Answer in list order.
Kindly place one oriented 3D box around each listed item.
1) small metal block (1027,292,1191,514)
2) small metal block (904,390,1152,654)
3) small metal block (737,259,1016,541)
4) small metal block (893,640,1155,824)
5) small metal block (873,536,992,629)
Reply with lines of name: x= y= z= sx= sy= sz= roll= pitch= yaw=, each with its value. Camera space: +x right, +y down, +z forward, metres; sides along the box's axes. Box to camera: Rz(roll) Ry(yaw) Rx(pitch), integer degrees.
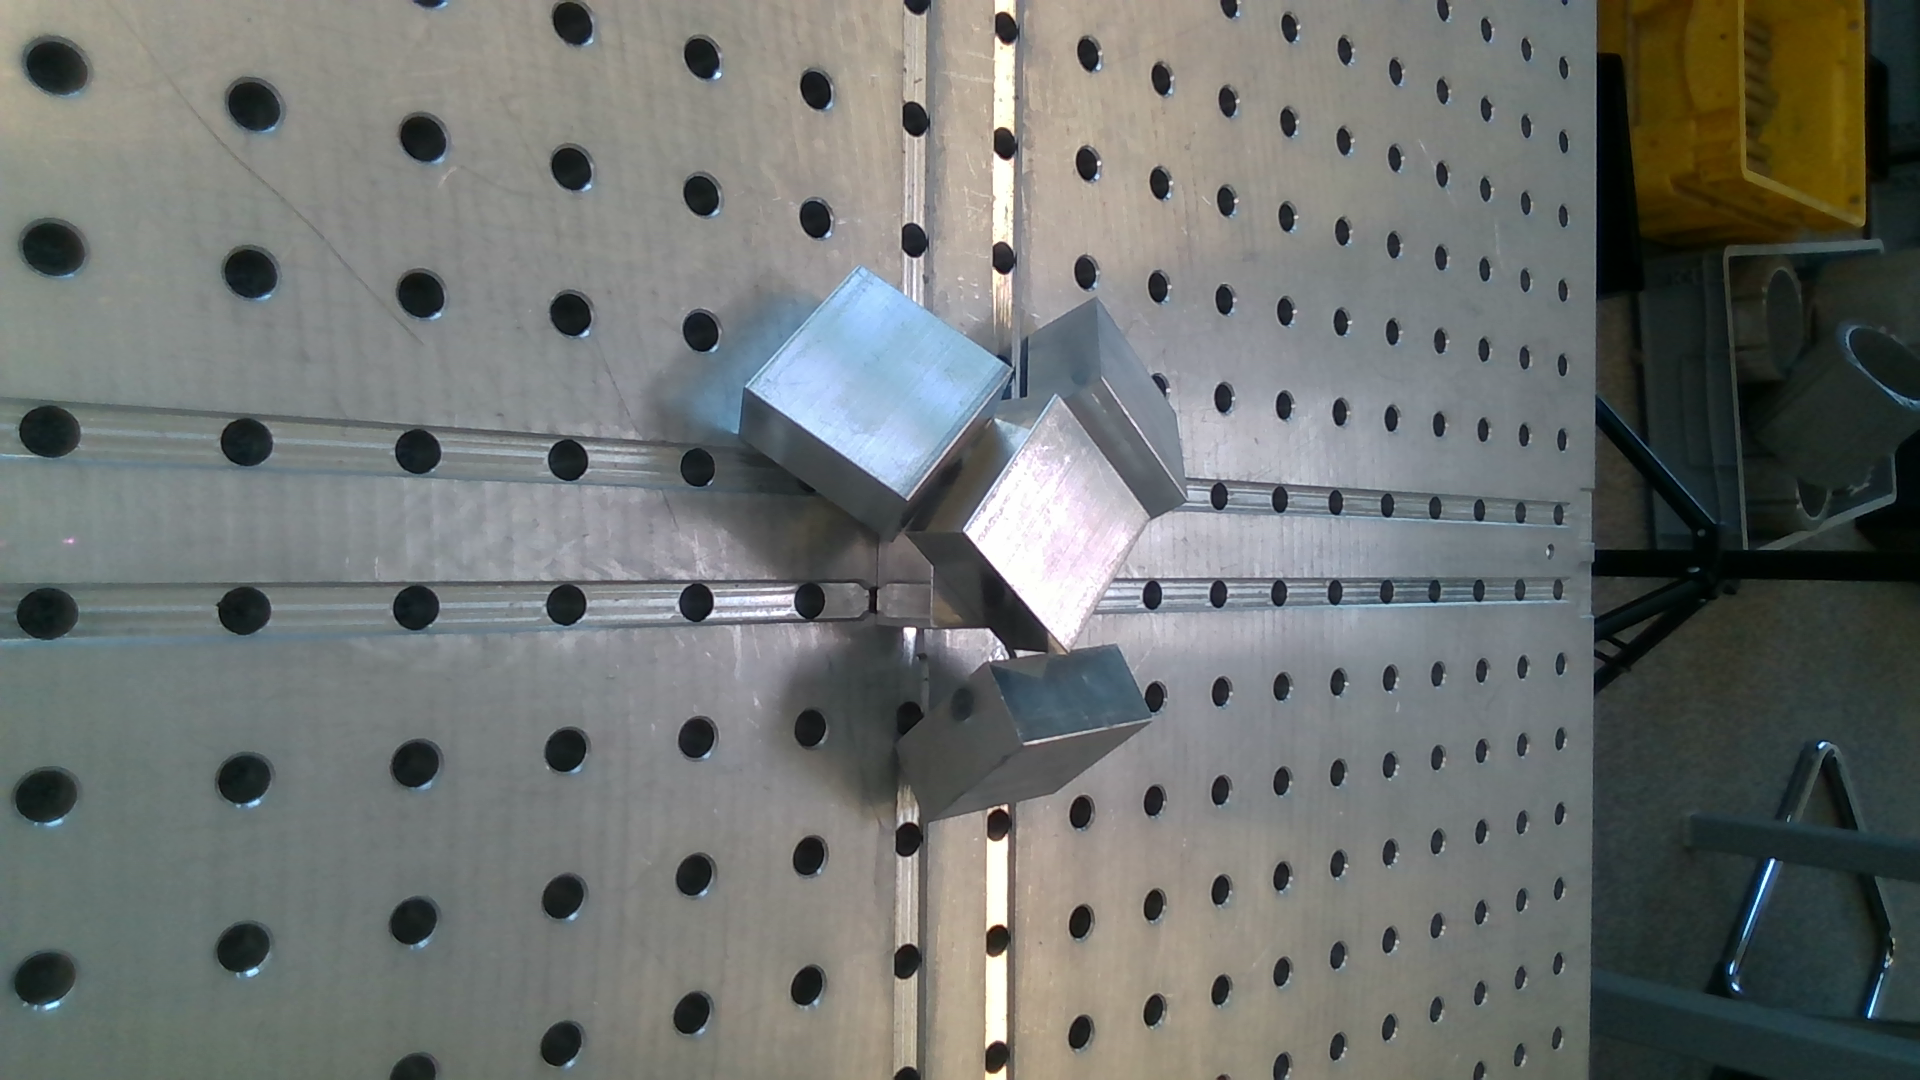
small metal block: x=0.044 y=-0.038 z=0.415 sx=0.050 sy=0.025 sz=0.050 roll=51 pitch=24 yaw=-28
small metal block: x=0.020 y=-0.005 z=0.377 sx=0.050 sy=0.025 sz=0.050 roll=49 pitch=61 yaw=-30
small metal block: x=-0.022 y=-0.037 z=0.358 sx=0.050 sy=0.025 sz=0.050 roll=34 pitch=63 yaw=5
small metal block: x=0.018 y=0.054 z=0.389 sx=0.050 sy=0.050 sz=0.025 roll=-4 pitch=60 yaw=-40
small metal block: x=0.003 y=0.000 z=0.397 sx=0.050 sy=0.025 sz=0.050 roll=2 pitch=89 yaw=-38
